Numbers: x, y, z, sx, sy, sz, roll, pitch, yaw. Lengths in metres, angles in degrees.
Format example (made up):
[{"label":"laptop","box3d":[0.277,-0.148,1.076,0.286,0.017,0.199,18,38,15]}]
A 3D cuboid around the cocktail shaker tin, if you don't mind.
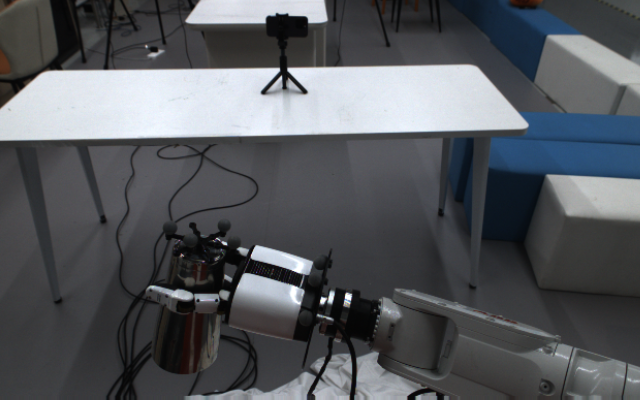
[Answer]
[{"label":"cocktail shaker tin","box3d":[-0.167,0.133,0.643,0.093,0.170,0.093,12,25,-6]}]
